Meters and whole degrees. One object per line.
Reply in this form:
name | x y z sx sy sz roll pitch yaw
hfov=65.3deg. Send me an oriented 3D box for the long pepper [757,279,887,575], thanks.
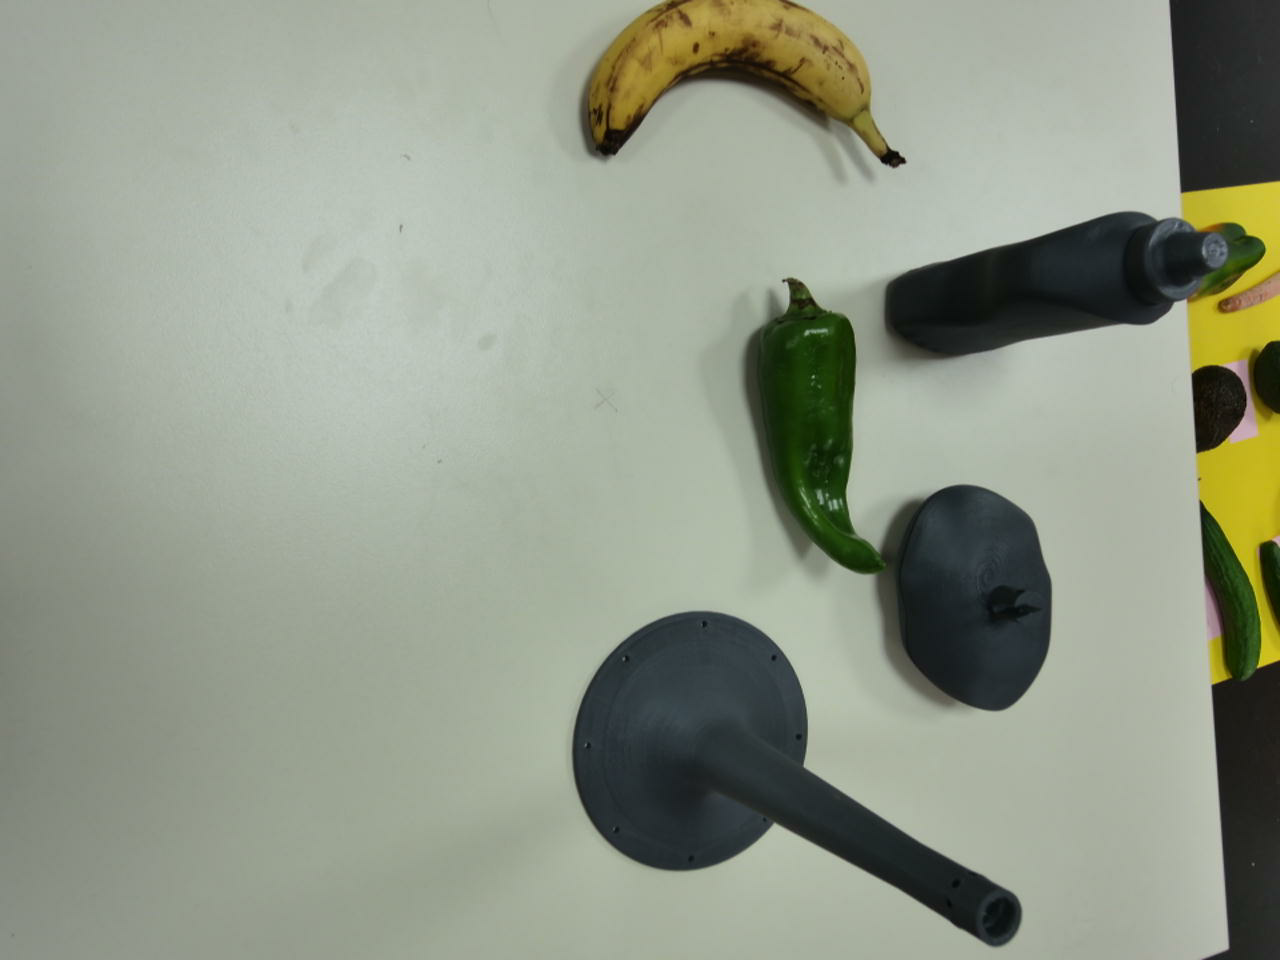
long pepper | 0.104 -0.030 0.576 0.058 0.065 0.175 -8 94 -22
